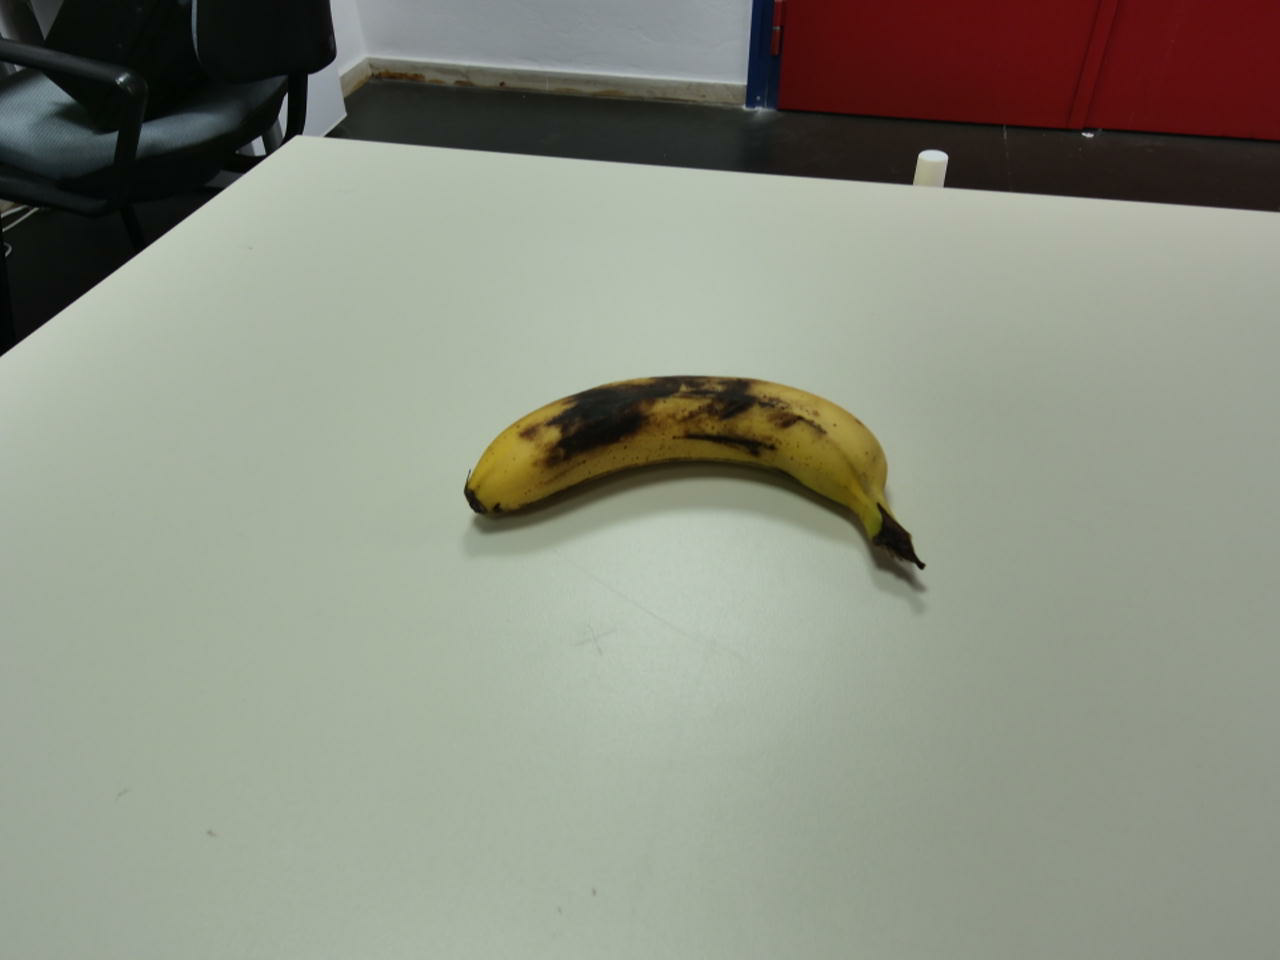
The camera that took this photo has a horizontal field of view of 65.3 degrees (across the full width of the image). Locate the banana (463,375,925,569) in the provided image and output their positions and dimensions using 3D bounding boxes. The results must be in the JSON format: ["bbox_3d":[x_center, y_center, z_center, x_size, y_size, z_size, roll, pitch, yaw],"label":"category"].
[{"bbox_3d":[0.025,-0.011,0.431,0.187,0.039,0.094,7,39,9],"label":"banana"}]
